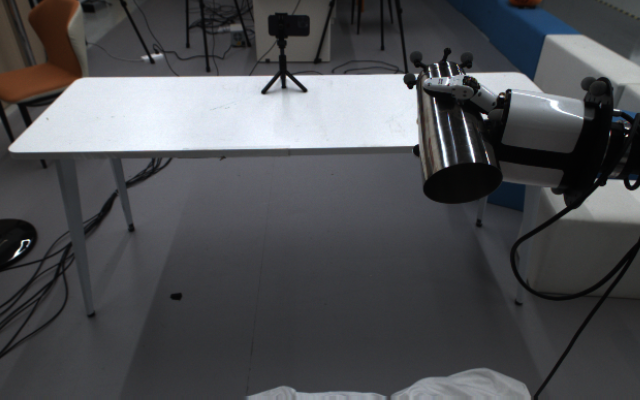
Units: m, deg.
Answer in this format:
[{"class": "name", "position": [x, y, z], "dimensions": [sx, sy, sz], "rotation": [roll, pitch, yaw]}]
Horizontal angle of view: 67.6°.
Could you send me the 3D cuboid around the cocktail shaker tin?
[{"class": "cocktail shaker tin", "position": [0.165, -0.092, 0.609], "dimensions": [0.093, 0.093, 0.170], "rotation": [0, 59, -3]}]
